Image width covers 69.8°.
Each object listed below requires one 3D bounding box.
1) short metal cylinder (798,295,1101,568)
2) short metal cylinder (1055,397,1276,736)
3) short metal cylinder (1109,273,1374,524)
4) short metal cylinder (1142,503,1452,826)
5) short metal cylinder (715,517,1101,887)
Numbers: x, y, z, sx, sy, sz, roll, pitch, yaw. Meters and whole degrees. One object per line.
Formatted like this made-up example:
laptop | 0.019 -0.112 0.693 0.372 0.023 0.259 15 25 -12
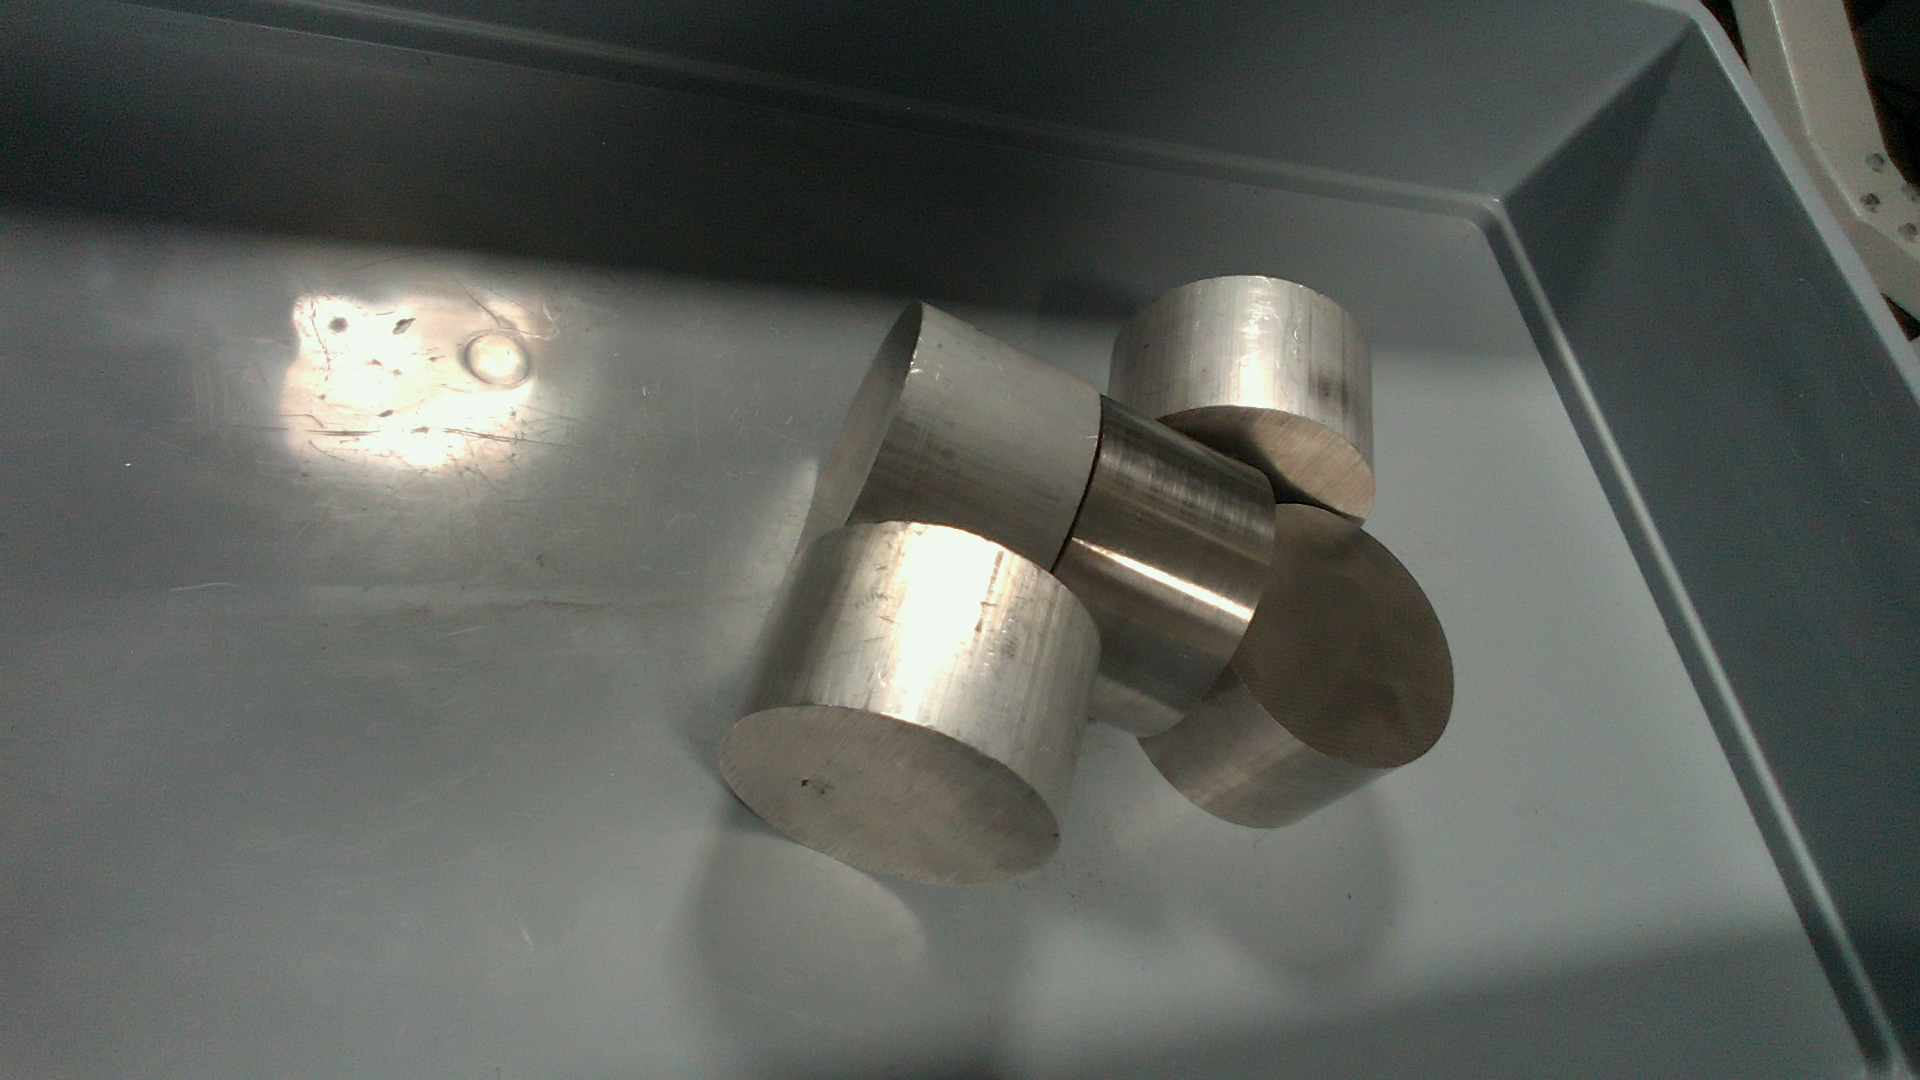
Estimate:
short metal cylinder | -0.005 -0.017 0.360 0.050 0.080 0.080 23 53 -14
short metal cylinder | 0.041 0.006 0.371 0.050 0.080 0.080 24 53 -13
short metal cylinder | 0.084 -0.034 0.418 0.080 0.080 0.050 21 54 -16
short metal cylinder | 0.093 0.036 0.400 0.080 0.050 0.080 14 56 -21
short metal cylinder | -0.011 0.040 0.323 0.080 0.080 0.050 26 52 -12
